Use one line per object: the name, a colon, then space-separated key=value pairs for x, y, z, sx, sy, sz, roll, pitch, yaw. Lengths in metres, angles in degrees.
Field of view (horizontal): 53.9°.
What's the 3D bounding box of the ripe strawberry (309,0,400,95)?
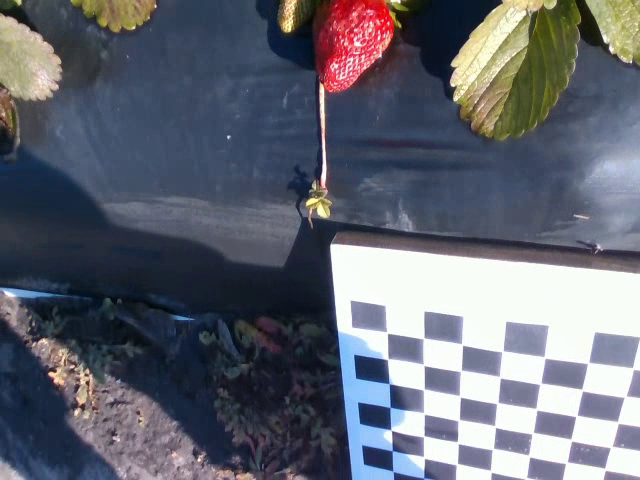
ripe strawberry: x=0.013 y=-0.090 z=0.287 sx=0.041 sy=0.053 sz=0.043 roll=14 pitch=-7 yaw=8
